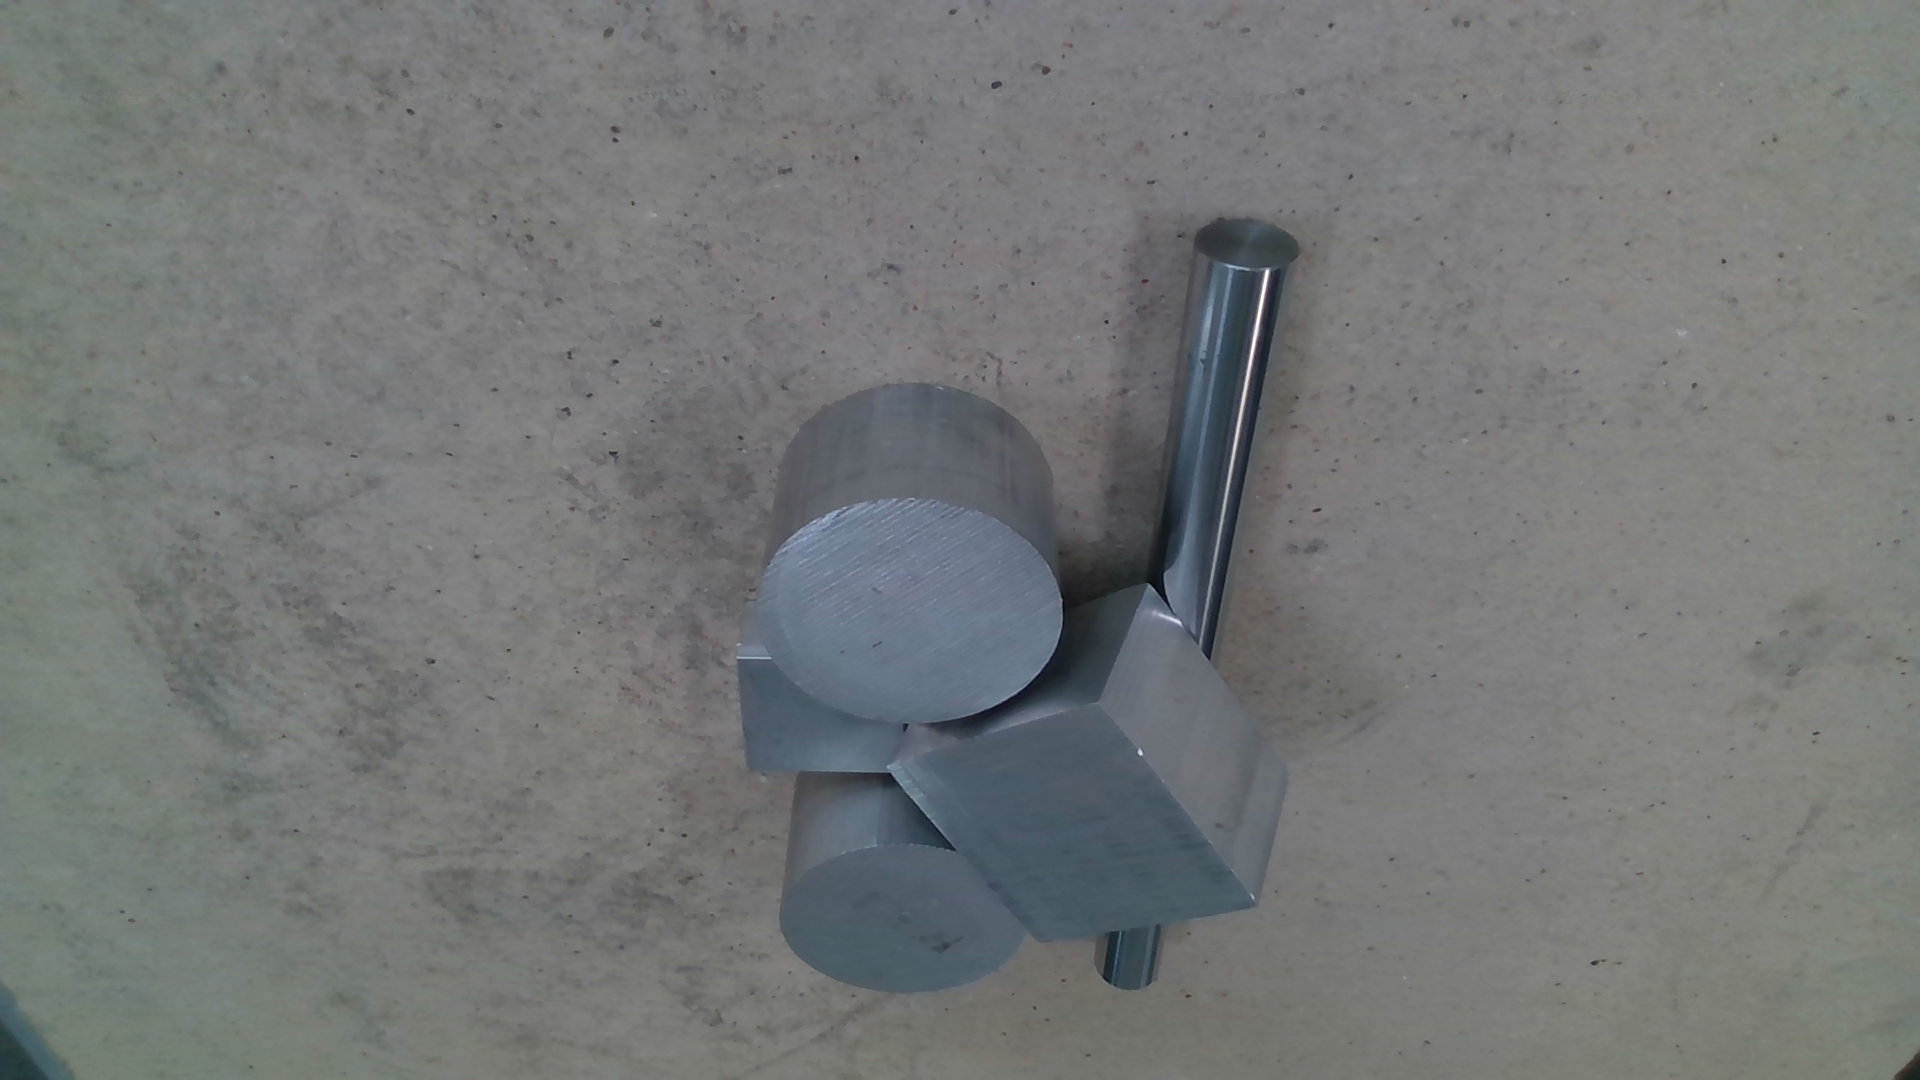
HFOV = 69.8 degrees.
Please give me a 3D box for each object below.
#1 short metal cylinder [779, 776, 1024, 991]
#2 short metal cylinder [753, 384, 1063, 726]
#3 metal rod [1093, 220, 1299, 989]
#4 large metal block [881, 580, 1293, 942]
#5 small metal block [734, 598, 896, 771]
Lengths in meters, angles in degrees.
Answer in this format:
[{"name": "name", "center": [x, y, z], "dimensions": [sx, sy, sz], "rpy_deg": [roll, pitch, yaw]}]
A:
[{"name": "short metal cylinder", "center": [-0.018, 0.107, 0.463], "dimensions": [0.080, 0.050, 0.080], "rpy_deg": [0, 130, 0]}, {"name": "short metal cylinder", "center": [-0.013, 0.005, 0.376], "dimensions": [0.080, 0.050, 0.080], "rpy_deg": [0, 130, 0]}, {"name": "metal rod", "center": [0.066, 0.044, 0.426], "dimensions": [0.025, 0.025, 0.301], "rpy_deg": [1, 130, -1]}, {"name": "large metal block", "center": [0.038, 0.068, 0.407], "dimensions": [0.080, 0.050, 0.080], "rpy_deg": [-22, 115, 38]}, {"name": "small metal block", "center": [-0.042, 0.046, 0.428], "dimensions": [0.050, 0.025, 0.050], "rpy_deg": [1, 130, -1]}]
